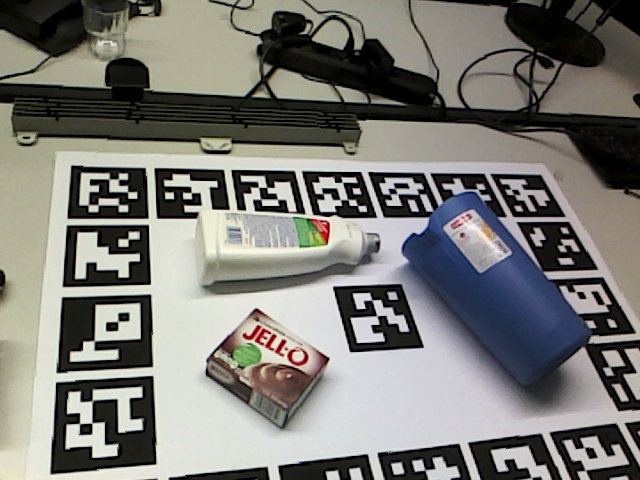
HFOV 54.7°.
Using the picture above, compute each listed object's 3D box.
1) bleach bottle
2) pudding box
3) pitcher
[{"bbox_3d":[-0.033,0.008,0.838,0.249,0.068,0.103,-2,54,-20],"label":"bleach bottle"},{"bbox_3d":[-0.057,0.146,0.718,0.114,0.038,0.090,35,43,13],"label":"pudding box"},{"bbox_3d":[0.240,0.077,0.835,0.244,0.133,0.187,54,22,22],"label":"pitcher"}]
